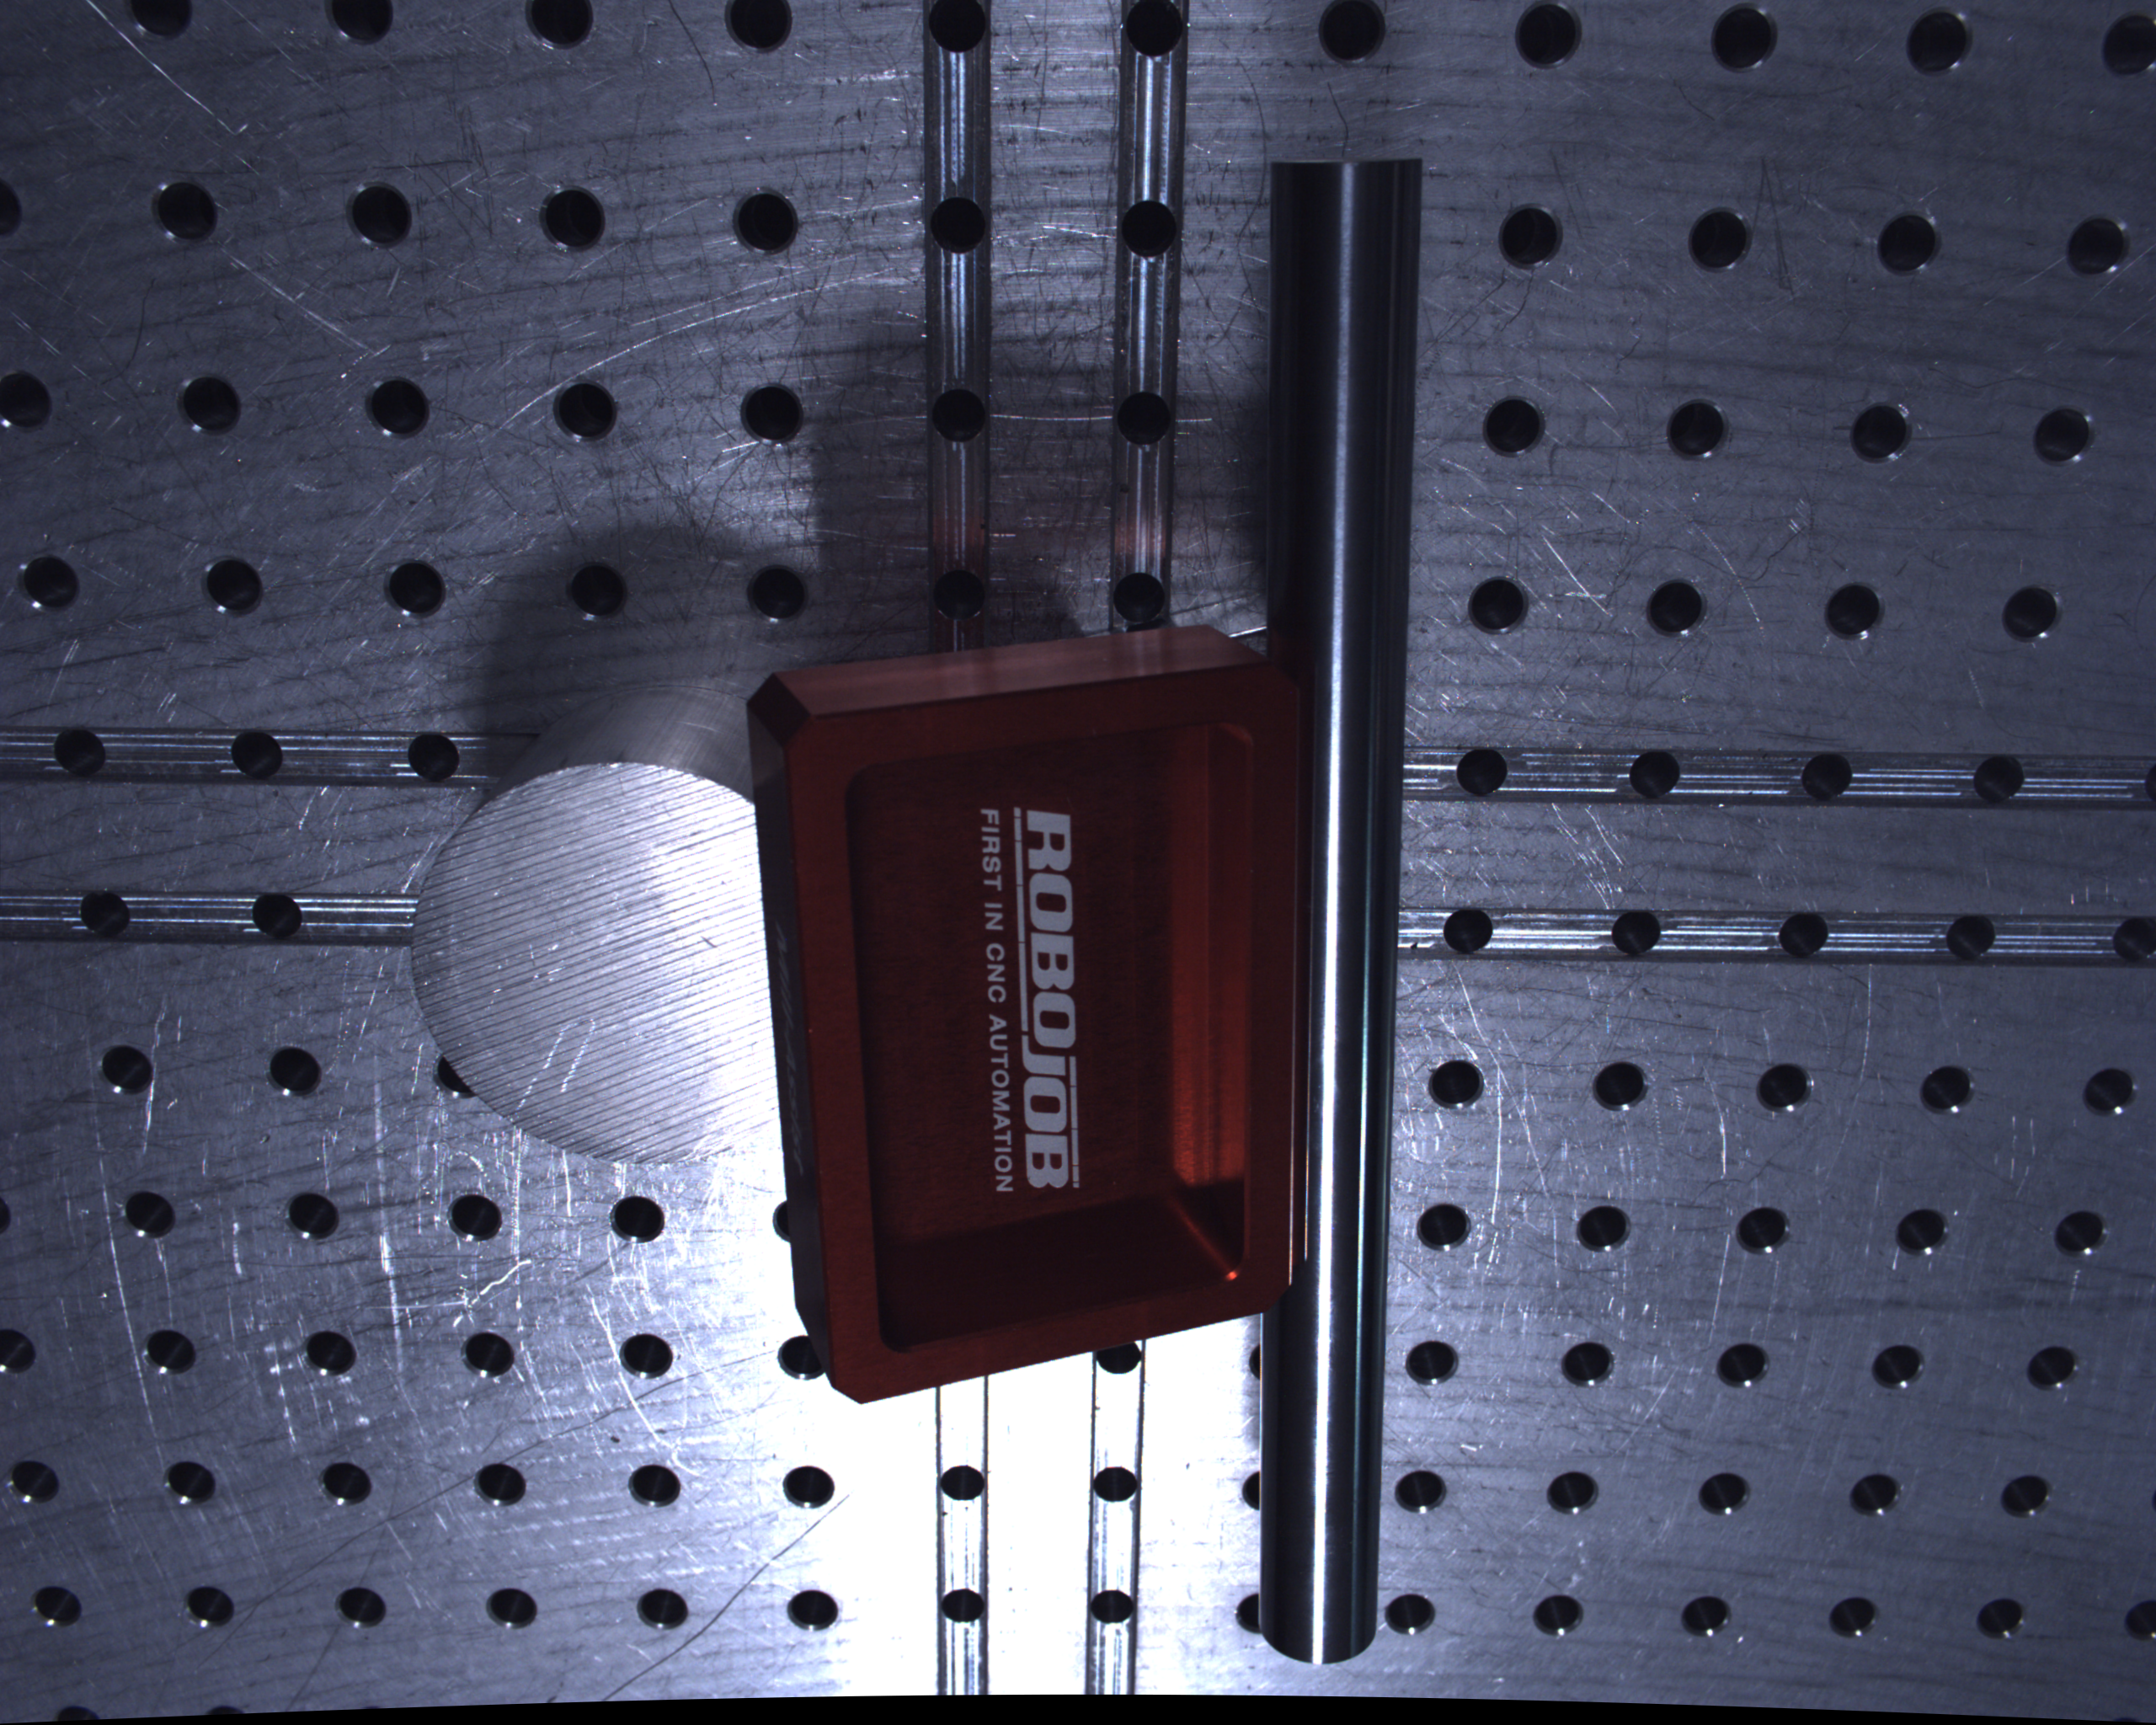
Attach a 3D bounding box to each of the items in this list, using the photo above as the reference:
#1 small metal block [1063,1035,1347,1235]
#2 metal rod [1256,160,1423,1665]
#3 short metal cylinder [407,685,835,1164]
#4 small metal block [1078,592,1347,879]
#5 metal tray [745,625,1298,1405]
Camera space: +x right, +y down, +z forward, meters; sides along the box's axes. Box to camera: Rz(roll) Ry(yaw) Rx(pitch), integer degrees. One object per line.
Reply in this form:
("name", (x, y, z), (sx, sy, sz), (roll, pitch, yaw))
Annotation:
("small metal block", (0.021, 0.059, 0.434), (0.050, 0.025, 0.050), (37, 106, -13))
("metal rod", (0.047, 0.024, 0.396), (0.025, 0.025, 0.298), (-1, 110, 0))
("short metal cylinder", (-0.081, 0.011, 0.402), (0.081, 0.050, 0.079), (0, 110, -1))
("small metal block", (0.031, -0.024, 0.405), (0.050, 0.025, 0.050), (-14, 110, 4))
("metal tray", (-0.008, 0.027, 0.378), (0.091, 0.030, 0.129), (-9, 112, -18))
